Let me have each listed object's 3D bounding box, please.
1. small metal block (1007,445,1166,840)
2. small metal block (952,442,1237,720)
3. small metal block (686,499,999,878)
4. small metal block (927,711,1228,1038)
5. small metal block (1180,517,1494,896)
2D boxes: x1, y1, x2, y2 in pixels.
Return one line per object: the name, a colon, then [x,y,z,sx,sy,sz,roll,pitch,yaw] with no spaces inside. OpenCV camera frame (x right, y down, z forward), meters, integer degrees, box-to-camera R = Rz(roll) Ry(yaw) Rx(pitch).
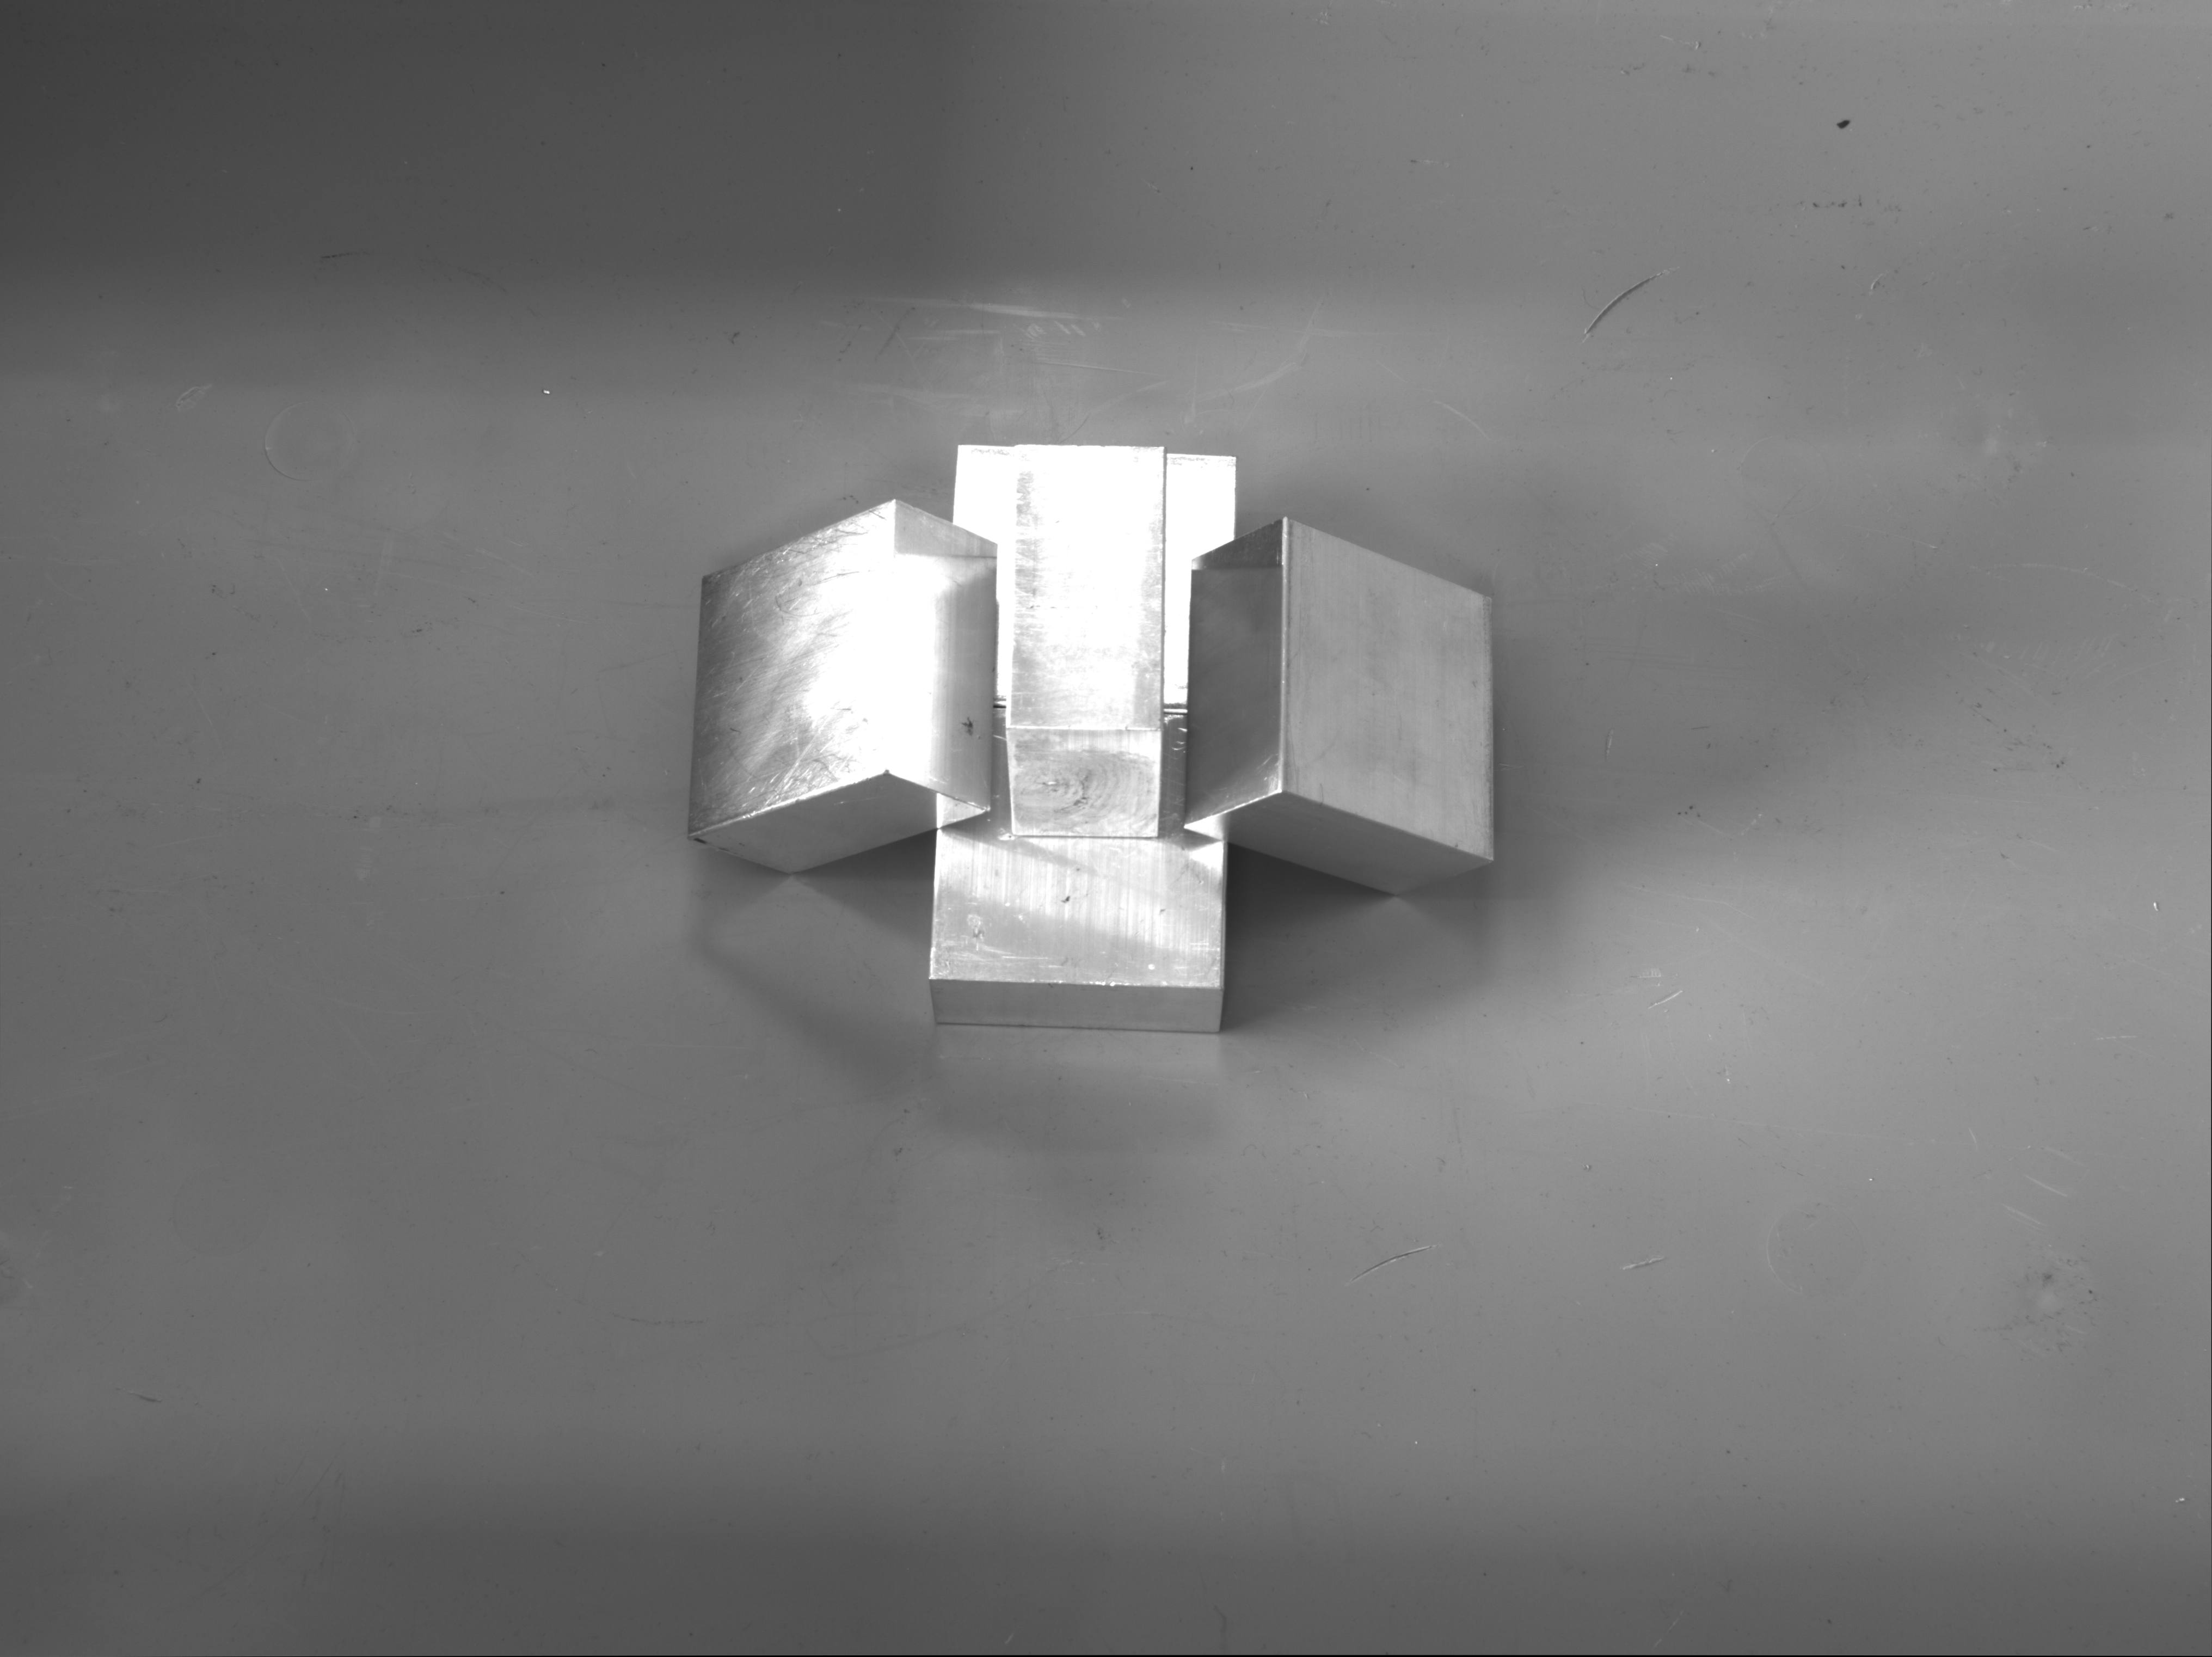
small metal block: [-0.003,-0.030,0.614,0.025,0.050,0.050,1,70,0]
small metal block: [-0.003,-0.040,0.657,0.050,0.025,0.050,3,70,0]
small metal block: [-0.046,-0.023,0.637,0.050,0.025,0.050,-17,63,41]
small metal block: [-0.004,0.008,0.640,0.050,0.025,0.050,2,70,1]
small metal block: [0.041,-0.020,0.638,0.050,0.025,0.050,17,65,-36]
